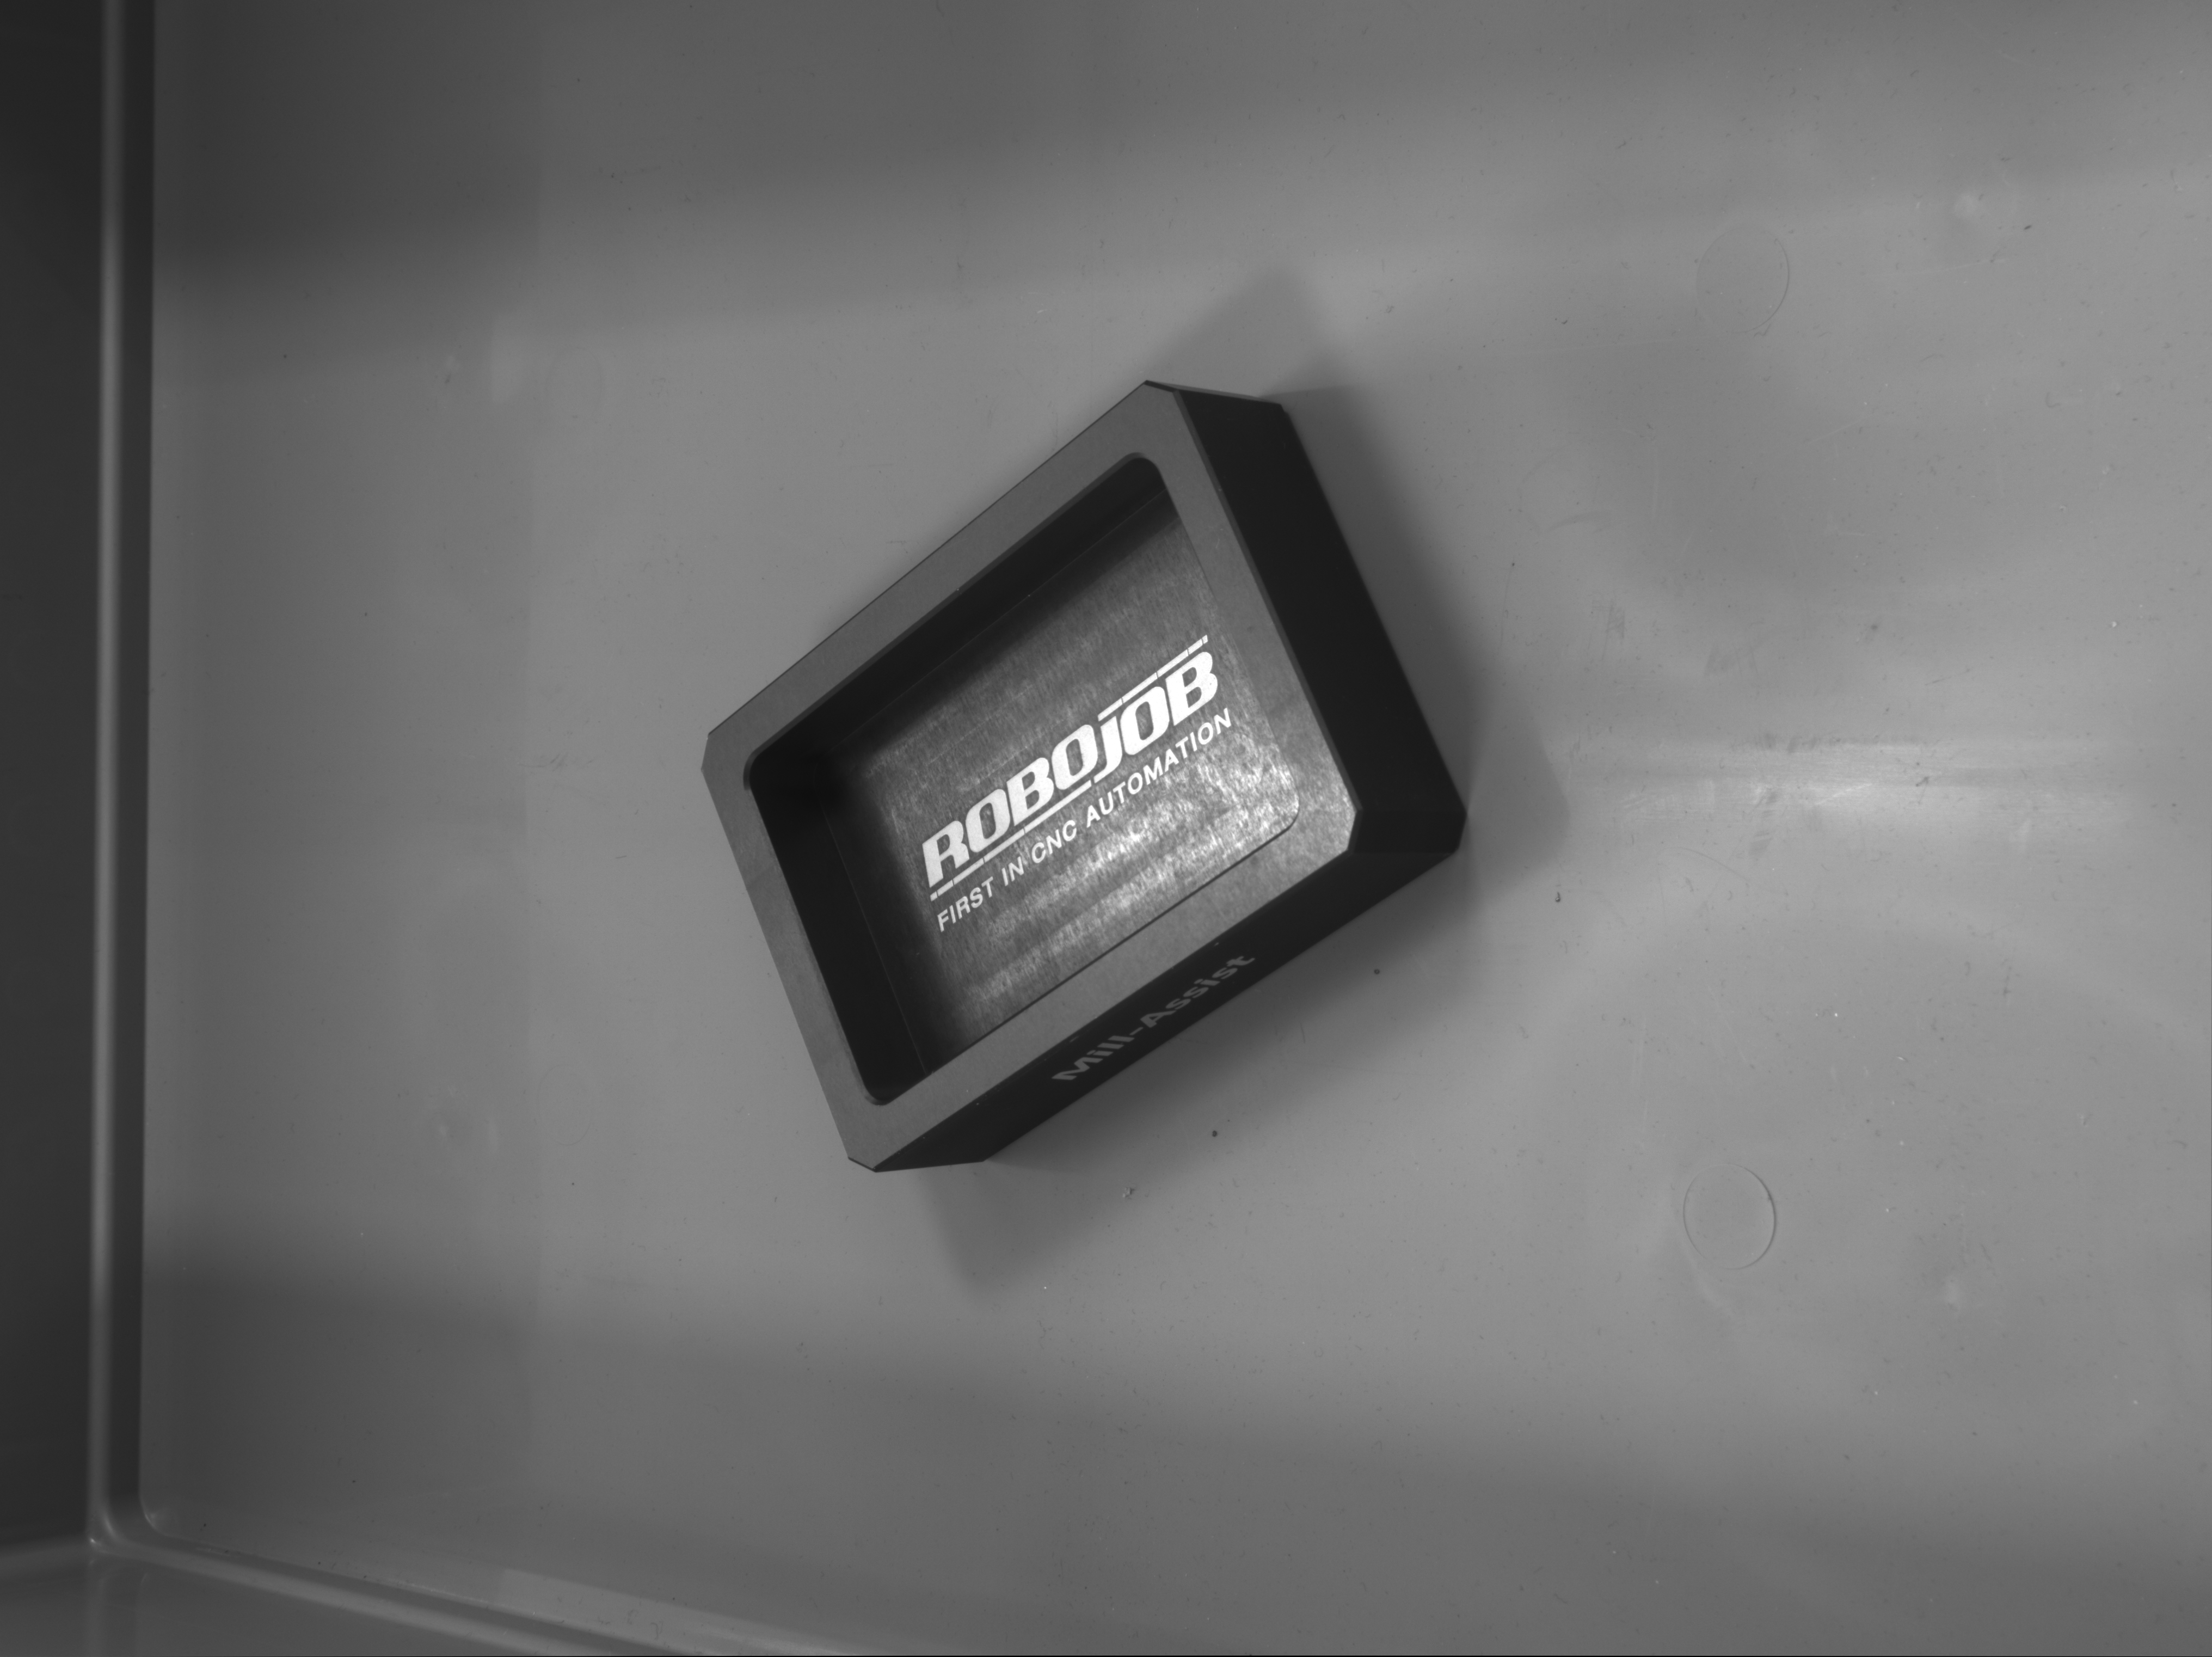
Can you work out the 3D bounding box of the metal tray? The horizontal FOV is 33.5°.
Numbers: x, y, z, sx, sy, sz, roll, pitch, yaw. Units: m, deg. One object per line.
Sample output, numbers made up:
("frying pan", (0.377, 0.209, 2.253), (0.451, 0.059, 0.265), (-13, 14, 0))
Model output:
("metal tray", (-0.008, -0.007, 0.646), (0.130, 0.030, 0.090), (-35, 68, 34))
